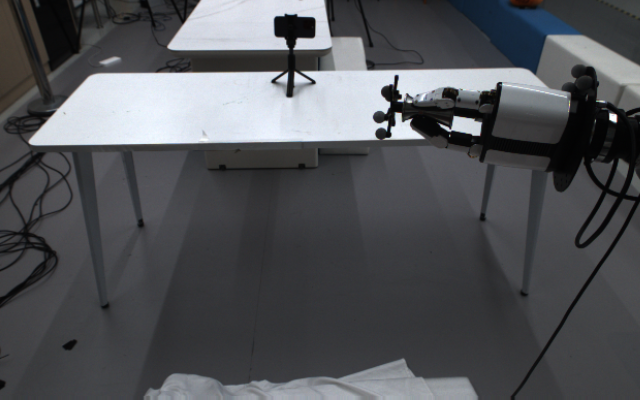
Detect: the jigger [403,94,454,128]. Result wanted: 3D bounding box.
[{"bbox_3d":[0.157,-0.130,0.670,0.071,0.043,0.043,9,35,16],"label":"jigger"}]
